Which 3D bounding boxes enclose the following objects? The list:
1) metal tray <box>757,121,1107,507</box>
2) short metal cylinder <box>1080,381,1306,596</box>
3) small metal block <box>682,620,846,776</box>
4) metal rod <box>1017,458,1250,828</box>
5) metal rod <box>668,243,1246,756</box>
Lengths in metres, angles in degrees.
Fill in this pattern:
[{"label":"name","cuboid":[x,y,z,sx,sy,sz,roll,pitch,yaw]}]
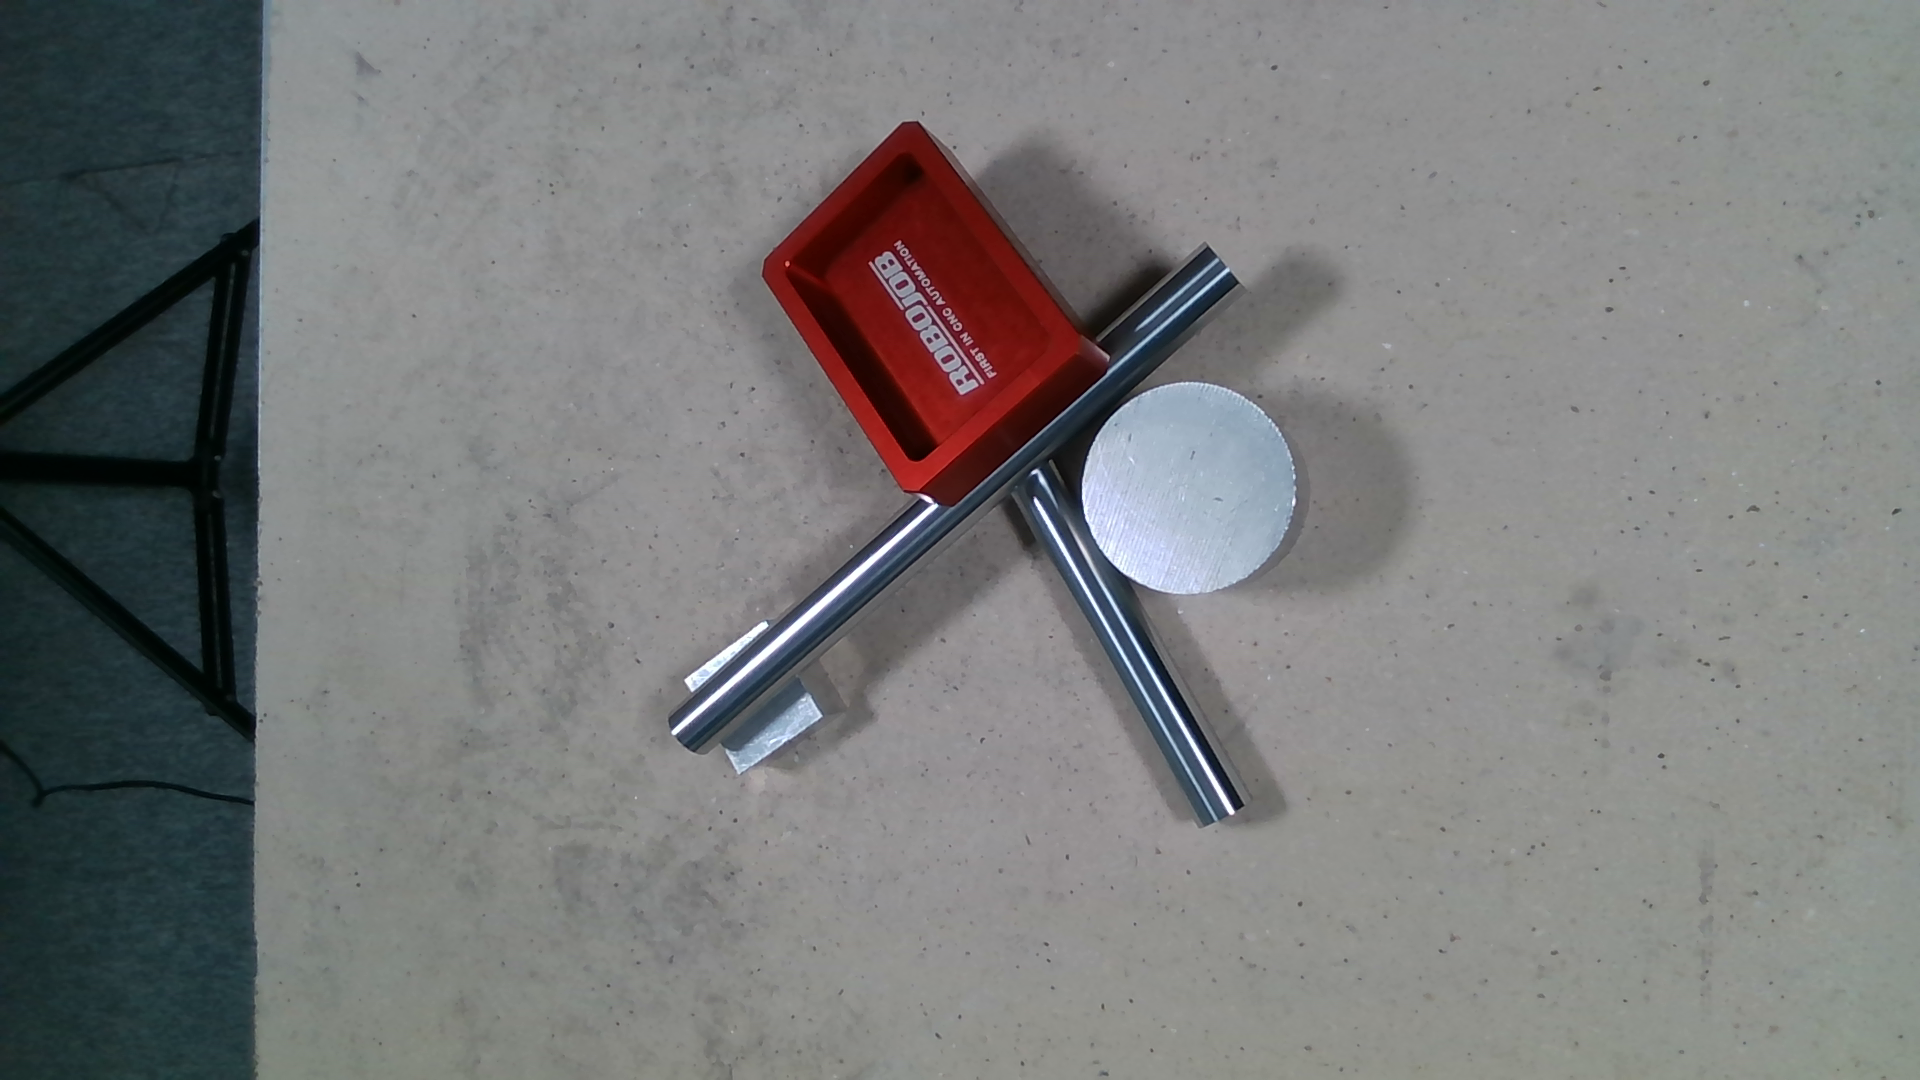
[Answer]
[{"label":"metal tray","cuboid":[-0.014,-0.090,0.546,0.090,0.030,0.130,-41,65,15]},{"label":"short metal cylinder","cuboid":[0.092,-0.019,0.537,0.080,0.050,0.080,0,90,20]},{"label":"small metal block","cuboid":[-0.088,0.070,0.619,0.050,0.025,0.050,-35,79,17]},{"label":"metal rod","cuboid":[0.034,-0.021,0.573,0.025,0.025,0.300,-32,80,18]},{"label":"metal rod","cuboid":[-0.009,-0.010,0.563,0.300,0.025,0.025,-41,77,16]}]
